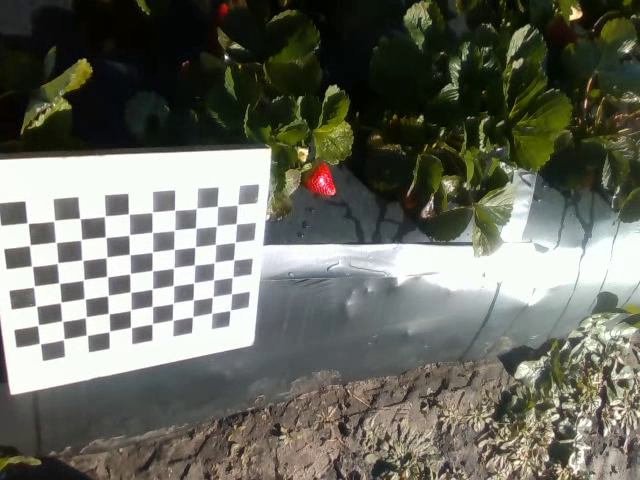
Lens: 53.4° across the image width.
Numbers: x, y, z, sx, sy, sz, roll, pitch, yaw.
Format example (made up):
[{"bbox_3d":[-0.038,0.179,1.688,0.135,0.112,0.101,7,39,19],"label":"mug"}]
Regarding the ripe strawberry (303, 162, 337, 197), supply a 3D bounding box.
[{"bbox_3d":[0.002,-0.076,0.825,0.055,0.048,0.029,45,1,-38],"label":"ripe strawberry"}]
